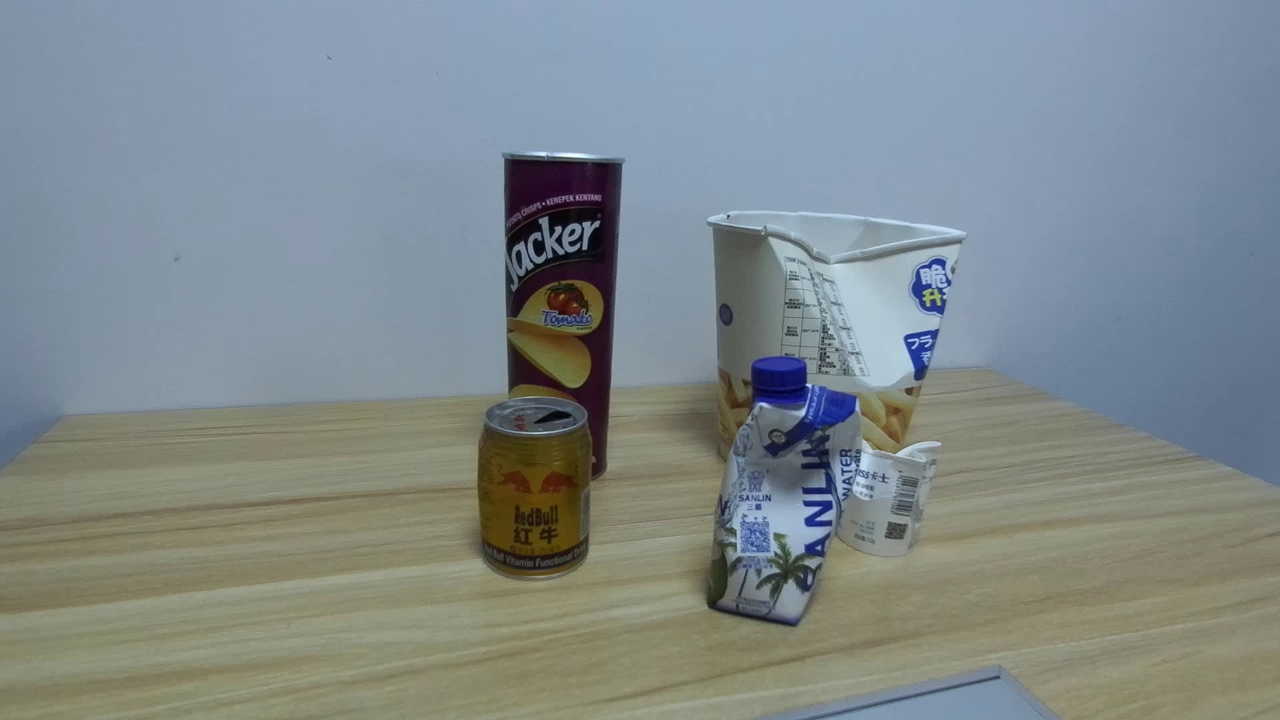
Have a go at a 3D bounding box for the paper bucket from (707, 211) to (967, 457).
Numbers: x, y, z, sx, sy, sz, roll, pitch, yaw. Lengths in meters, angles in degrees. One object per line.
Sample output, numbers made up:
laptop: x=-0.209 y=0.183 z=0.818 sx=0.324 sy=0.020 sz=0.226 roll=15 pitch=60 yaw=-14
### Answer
paper bucket: x=0.135 y=-0.010 z=0.559 sx=0.168 sy=0.202 sz=0.163 roll=14 pitch=21 yaw=40

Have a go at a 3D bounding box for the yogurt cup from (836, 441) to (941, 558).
yogurt cup: x=0.158 y=0.085 z=0.463 sx=0.054 sy=0.072 sz=0.055 roll=19 pitch=25 yaw=38

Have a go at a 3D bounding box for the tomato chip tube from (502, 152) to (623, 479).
tomato chip tube: x=-0.057 y=-0.029 z=0.522 sx=0.080 sy=0.234 sz=0.077 roll=8 pitch=17 yaw=16

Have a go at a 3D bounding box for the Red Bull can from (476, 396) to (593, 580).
Red Bull can: x=-0.062 y=0.075 z=0.424 sx=0.068 sy=0.093 sz=0.068 roll=4 pitch=17 yaw=-1

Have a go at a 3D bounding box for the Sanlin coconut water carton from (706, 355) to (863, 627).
Sanlin coconut water carton: x=0.078 y=0.071 z=0.377 sx=0.068 sy=0.144 sz=0.057 roll=15 pitch=27 yaw=11
